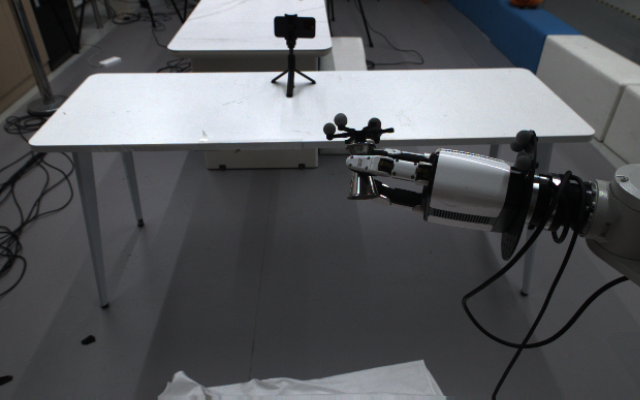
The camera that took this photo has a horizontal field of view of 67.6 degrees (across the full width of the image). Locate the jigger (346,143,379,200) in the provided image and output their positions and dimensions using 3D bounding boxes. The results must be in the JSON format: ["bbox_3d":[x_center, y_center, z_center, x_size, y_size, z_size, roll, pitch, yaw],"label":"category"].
[{"bbox_3d":[0.054,-0.038,0.627,0.043,0.071,0.043,-2,-7,0],"label":"jigger"}]
